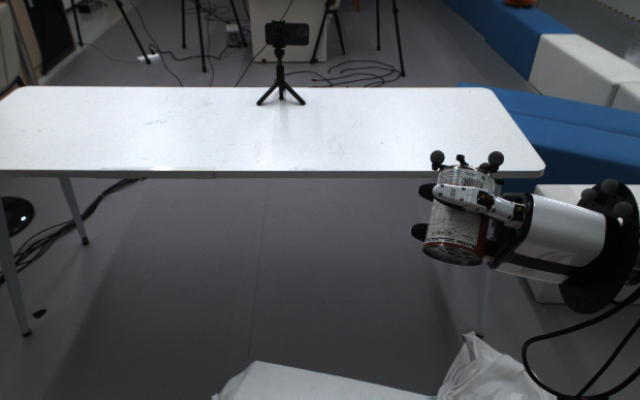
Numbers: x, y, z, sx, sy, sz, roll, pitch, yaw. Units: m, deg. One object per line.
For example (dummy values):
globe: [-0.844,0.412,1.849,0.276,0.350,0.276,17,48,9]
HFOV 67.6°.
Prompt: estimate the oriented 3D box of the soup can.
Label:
soup can: [0.166,0.018,0.568,0.067,0.067,0.101,11,72,13]
